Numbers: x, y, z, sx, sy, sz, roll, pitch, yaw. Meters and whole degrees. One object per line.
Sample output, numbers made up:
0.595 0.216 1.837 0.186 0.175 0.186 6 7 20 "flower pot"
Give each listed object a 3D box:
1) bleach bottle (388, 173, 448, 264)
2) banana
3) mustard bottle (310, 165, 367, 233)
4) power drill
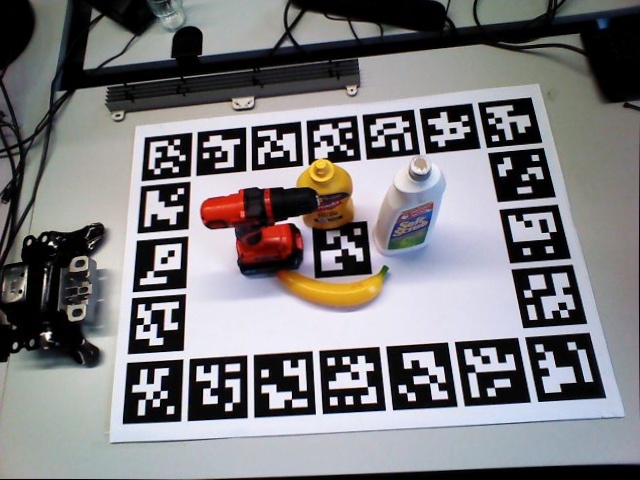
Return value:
0.162 -0.034 0.810 0.103 0.251 0.067 -12 70 1 "bleach bottle"
0.048 0.088 0.878 0.198 0.039 0.074 -2 74 7 "banana"
0.032 -0.071 0.859 0.096 0.192 0.058 -3 69 3 "mustard bottle"
-0.069 -0.014 0.828 0.185 0.187 0.057 -6 62 0 "power drill"
